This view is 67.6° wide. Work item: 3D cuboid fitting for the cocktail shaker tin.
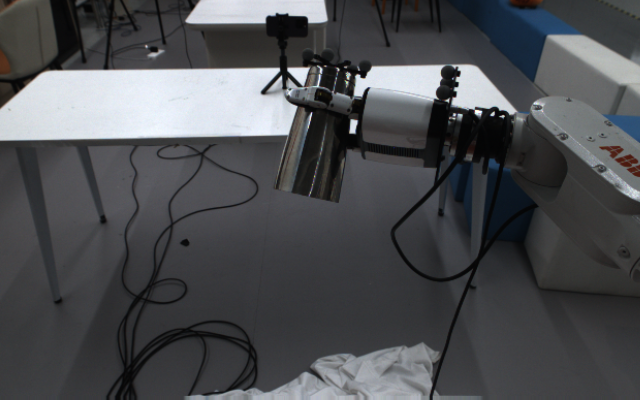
[{"bbox_3d":[0.002,-0.092,0.657,0.093,0.170,0.093,13,1,0],"label":"cocktail shaker tin"}]
